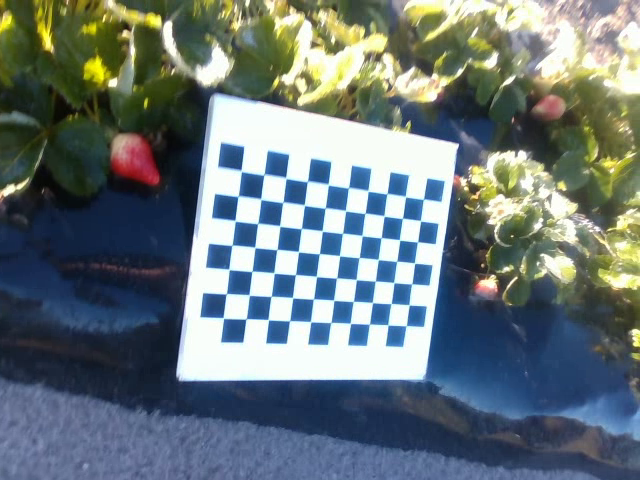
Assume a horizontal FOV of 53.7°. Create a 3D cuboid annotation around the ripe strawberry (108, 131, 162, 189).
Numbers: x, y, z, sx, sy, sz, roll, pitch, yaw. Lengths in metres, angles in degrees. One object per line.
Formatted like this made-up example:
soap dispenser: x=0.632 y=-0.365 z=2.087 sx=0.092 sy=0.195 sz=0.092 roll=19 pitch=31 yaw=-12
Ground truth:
ripe strawberry: x=-0.184 y=-0.075 z=0.619 sx=0.040 sy=0.065 sz=0.040 roll=-46 pitch=21 yaw=-17
